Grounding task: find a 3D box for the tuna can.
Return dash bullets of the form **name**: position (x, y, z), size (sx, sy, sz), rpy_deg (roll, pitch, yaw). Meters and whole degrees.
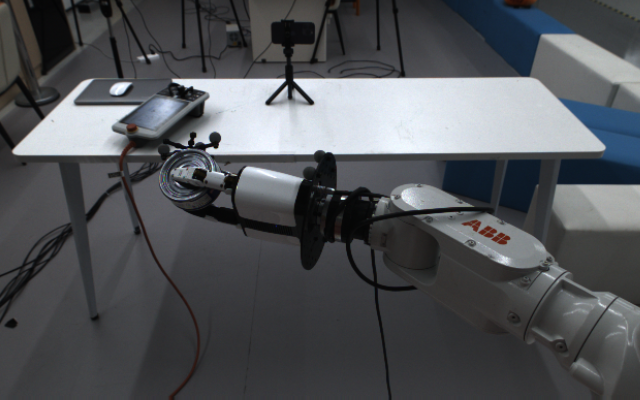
- **tuna can**: position (-0.183, -0.030, 0.690), size (0.085, 0.034, 0.085), rpy_deg (-4, 68, 9)
